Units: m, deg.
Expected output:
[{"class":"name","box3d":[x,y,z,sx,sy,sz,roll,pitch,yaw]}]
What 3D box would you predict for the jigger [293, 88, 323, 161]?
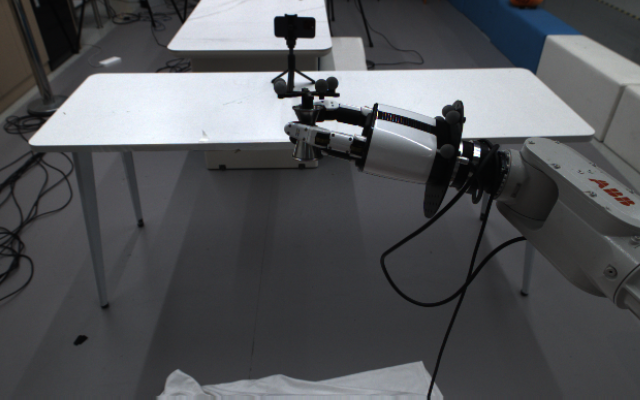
[{"class":"jigger","box3d":[-0.017,-0.090,0.647,0.043,0.071,0.043,0,21,0]}]
